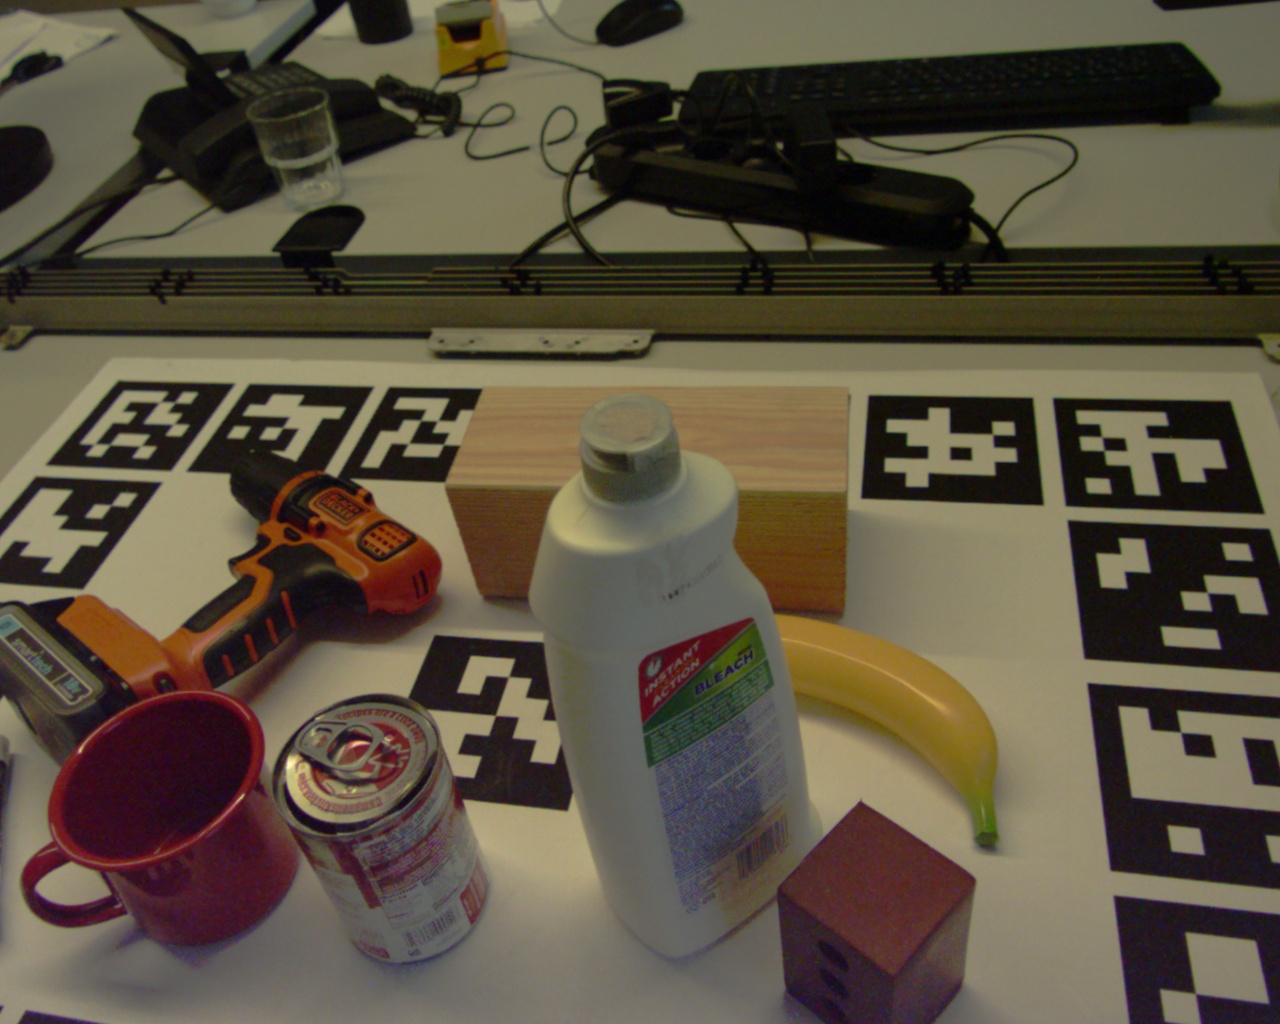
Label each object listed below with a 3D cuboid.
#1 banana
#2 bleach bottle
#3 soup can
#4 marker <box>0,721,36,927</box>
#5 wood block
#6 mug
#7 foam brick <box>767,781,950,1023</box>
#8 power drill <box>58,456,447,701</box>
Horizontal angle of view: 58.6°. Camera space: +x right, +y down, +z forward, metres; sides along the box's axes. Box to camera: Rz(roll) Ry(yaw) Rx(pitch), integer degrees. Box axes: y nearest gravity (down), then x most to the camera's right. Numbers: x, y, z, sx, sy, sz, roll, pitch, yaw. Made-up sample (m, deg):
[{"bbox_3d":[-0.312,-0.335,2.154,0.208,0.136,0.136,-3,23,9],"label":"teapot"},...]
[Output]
[{"bbox_3d":[0.073,0.070,0.593,0.199,0.038,0.074,16,61,23],"label":"banana"},{"bbox_3d":[0.010,0.062,0.460,0.069,0.249,0.102,26,50,33],"label":"bleach bottle"},{"bbox_3d":[-0.111,0.128,0.511,0.068,0.101,0.068,-4,38,2],"label":"soup can"},{"bbox_3d":[-0.326,0.159,0.590,0.019,0.019,0.122,-20,43,-8],"label":"marker"},{"bbox_3d":[0.008,-0.009,0.662,0.207,0.090,0.090,2,44,12],"label":"wood block"},{"bbox_3d":[-0.216,0.137,0.542,0.116,0.081,0.094,-32,48,-19],"label":"mug"},{"bbox_3d":[0.088,0.161,0.466,0.051,0.077,0.053,-35,46,-30],"label":"foam brick"},{"bbox_3d":[-0.234,0.050,0.670,0.187,0.057,0.185,27,52,30],"label":"power drill"}]
